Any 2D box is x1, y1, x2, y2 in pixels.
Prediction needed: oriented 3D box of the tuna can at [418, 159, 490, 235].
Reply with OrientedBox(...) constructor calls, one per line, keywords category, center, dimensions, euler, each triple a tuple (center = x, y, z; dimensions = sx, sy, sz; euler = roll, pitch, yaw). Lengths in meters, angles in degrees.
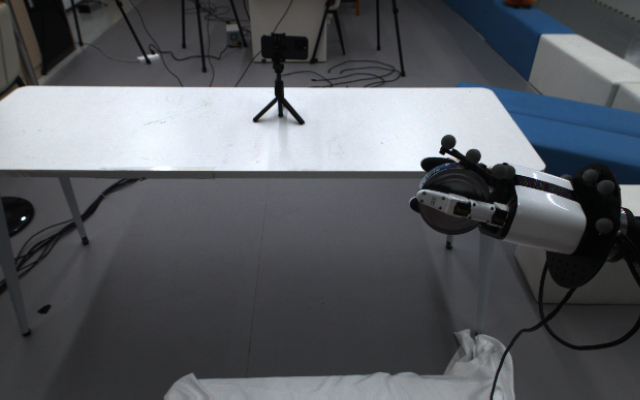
OrientedBox(category="tuna can", center=(0.167, -0.005, 0.601), dimensions=(0.085, 0.085, 0.034), euler=(7, 17, 6))
